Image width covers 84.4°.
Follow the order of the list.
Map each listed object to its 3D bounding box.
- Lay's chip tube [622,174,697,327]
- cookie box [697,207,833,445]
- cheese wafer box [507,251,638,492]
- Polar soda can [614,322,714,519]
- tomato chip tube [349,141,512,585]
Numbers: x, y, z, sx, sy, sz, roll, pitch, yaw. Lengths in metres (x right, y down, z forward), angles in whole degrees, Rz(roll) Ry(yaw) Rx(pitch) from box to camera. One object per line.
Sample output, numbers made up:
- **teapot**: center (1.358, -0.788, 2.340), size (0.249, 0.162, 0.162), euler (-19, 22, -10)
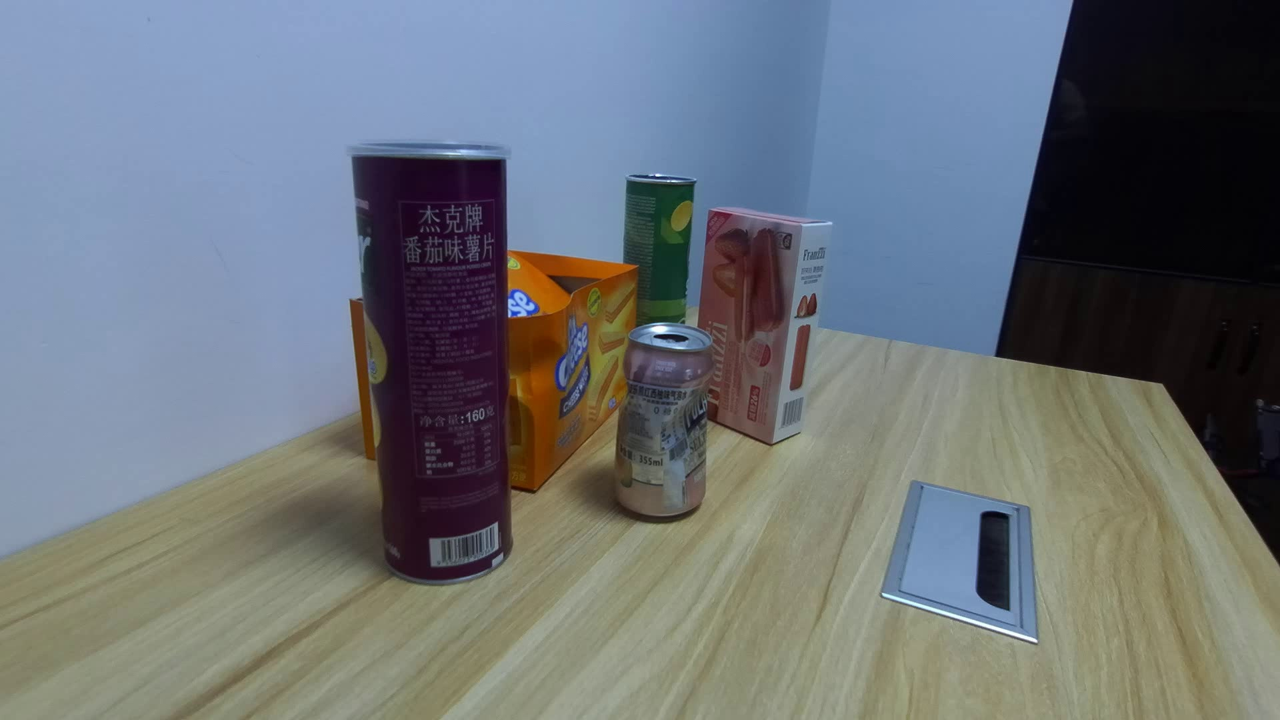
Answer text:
- **Lay's chip tube**: center (0.016, -0.084, 0.717), size (0.071, 0.202, 0.071), euler (3, 19, -1)
- **cookie box**: center (0.099, -0.031, 0.604), size (0.095, 0.184, 0.049), euler (19, 22, 40)
- **cheese wafer box**: center (-0.103, -0.003, 0.586), size (0.152, 0.132, 0.231), euler (10, 19, 15)
- **Polar soda can**: center (0.018, 0.041, 0.477), size (0.074, 0.122, 0.067), euler (-9, 22, -28)
- **tomato chip tube**: center (-0.110, 0.004, 0.391), size (0.078, 0.234, 0.078), euler (3, 19, -1)
